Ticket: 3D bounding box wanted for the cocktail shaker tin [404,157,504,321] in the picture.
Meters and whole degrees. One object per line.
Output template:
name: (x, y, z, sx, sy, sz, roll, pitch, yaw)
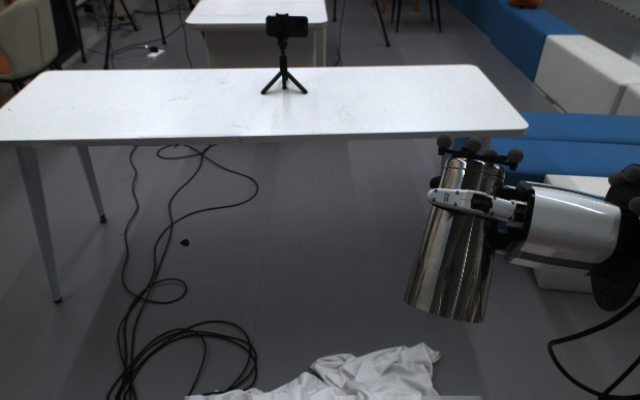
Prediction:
cocktail shaker tin: (0.163, 0.040, 0.554, 0.093, 0.170, 0.093, 13, 1, 0)
